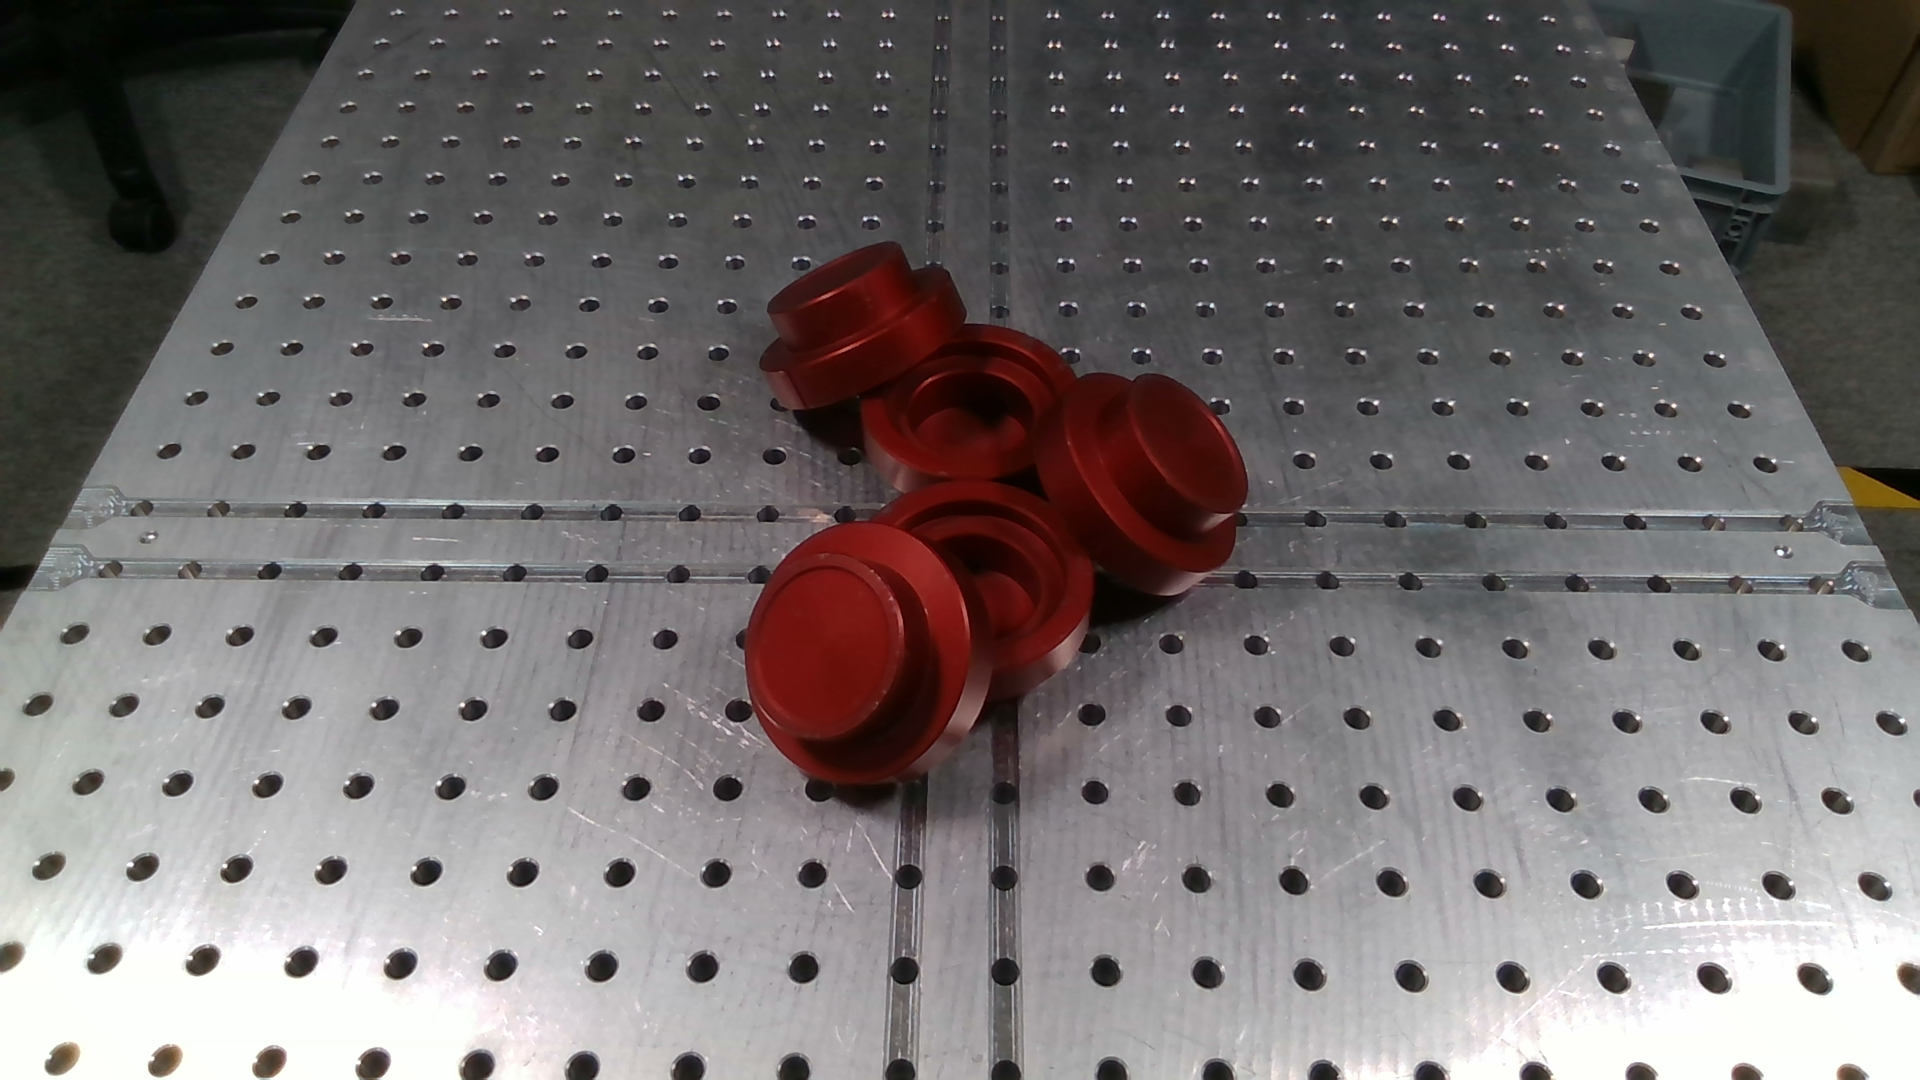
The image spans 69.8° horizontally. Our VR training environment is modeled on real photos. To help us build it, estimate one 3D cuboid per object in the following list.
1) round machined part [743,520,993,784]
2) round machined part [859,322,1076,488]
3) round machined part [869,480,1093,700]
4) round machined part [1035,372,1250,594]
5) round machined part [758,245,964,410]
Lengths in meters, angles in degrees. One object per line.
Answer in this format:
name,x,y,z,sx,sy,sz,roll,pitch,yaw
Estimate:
round machined part,-0.040,0.040,0.510,0.098,0.042,0.098,-6,77,26
round machined part,0.005,-0.050,0.620,0.098,0.042,0.098,0,50,0
round machined part,0.004,0.025,0.558,0.098,0.042,0.098,0,50,0
round machined part,0.082,-0.030,0.571,0.098,0.042,0.098,27,43,-28
round machined part,-0.050,-0.103,0.635,0.098,0.042,0.098,-22,23,10
